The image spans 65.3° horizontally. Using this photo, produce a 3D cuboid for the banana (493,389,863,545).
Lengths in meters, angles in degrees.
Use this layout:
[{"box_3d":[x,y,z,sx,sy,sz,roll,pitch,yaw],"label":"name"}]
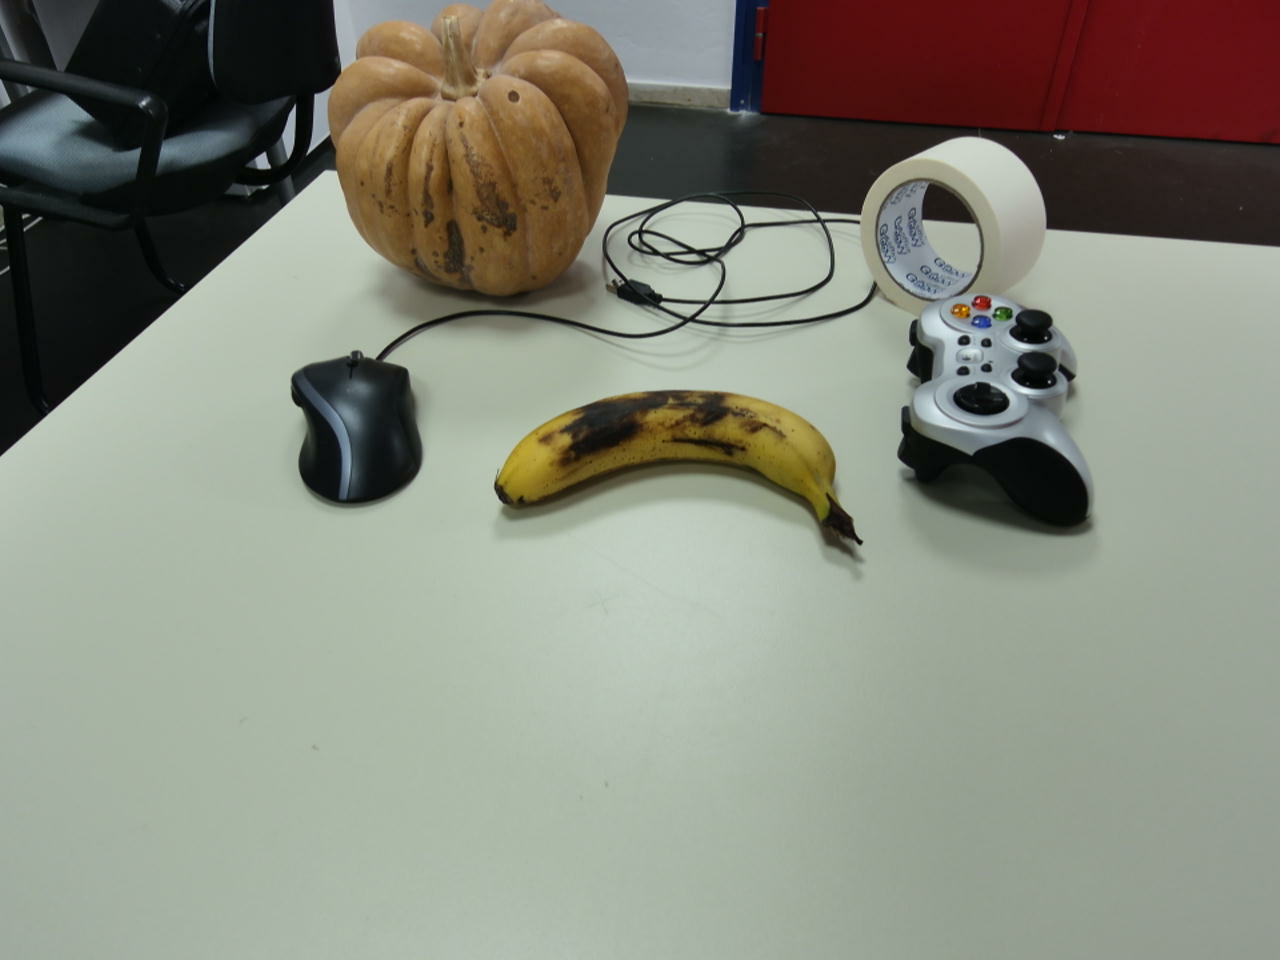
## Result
[{"box_3d":[0.022,-0.014,0.531,0.187,0.039,0.094,7,39,9],"label":"banana"}]
